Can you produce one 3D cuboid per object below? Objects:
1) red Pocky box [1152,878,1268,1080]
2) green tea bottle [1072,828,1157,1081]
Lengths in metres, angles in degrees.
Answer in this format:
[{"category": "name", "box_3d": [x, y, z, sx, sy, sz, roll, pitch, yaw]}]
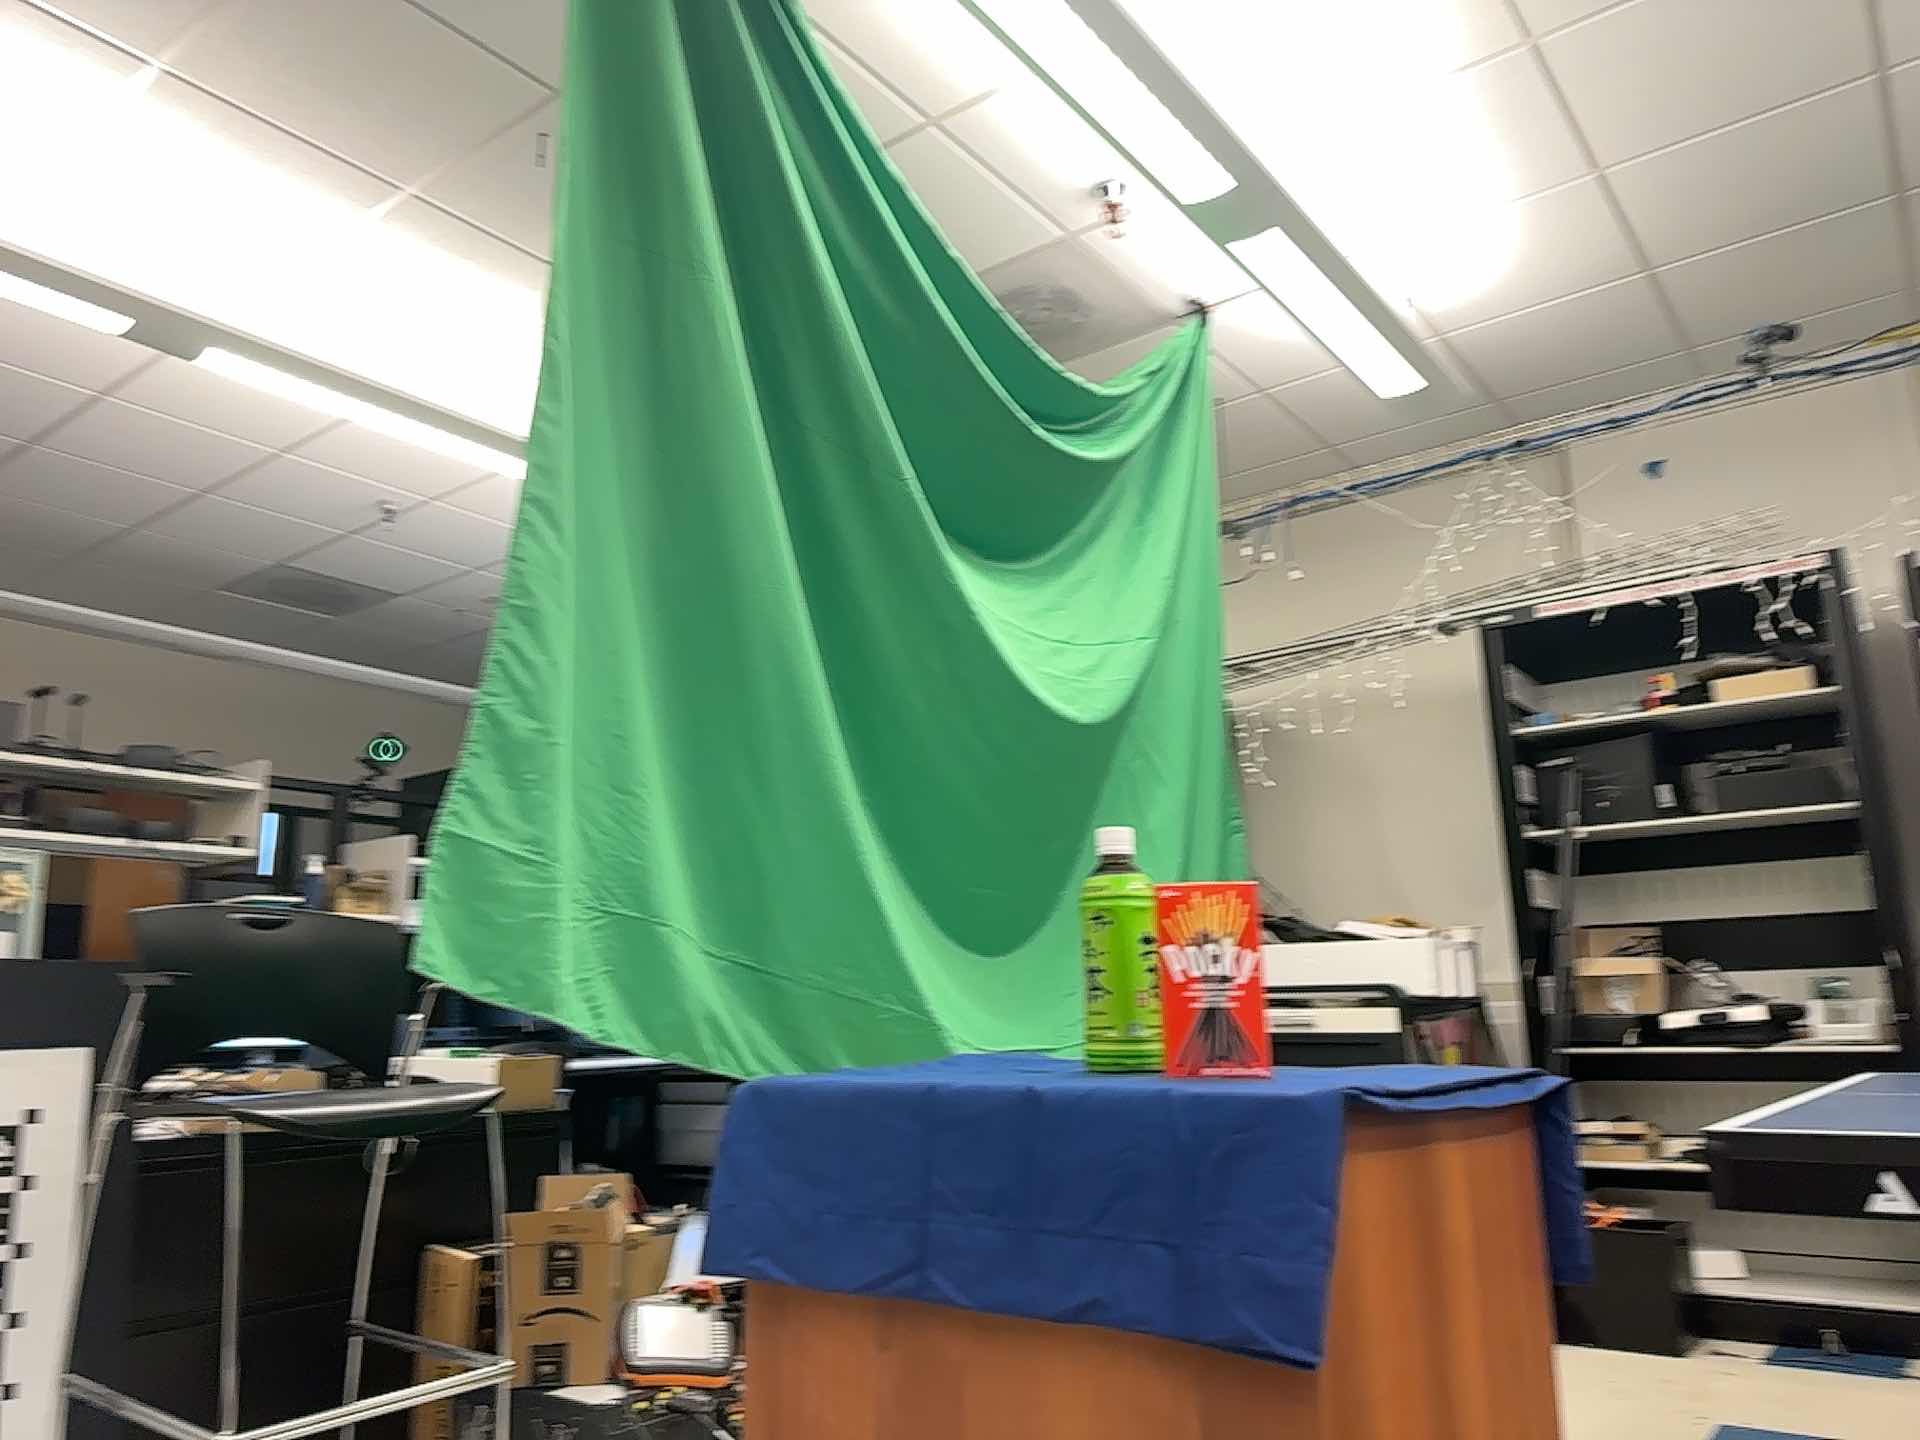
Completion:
[{"category": "red Pocky box", "box_3d": [0.194, 0.201, 1.052, 0.083, 0.155, 0.028, -2, -10, 8]}, {"category": "green tea bottle", "box_3d": [0.130, 0.199, 1.155, 0.073, 0.212, 0.073, -2, -13, 0]}]
